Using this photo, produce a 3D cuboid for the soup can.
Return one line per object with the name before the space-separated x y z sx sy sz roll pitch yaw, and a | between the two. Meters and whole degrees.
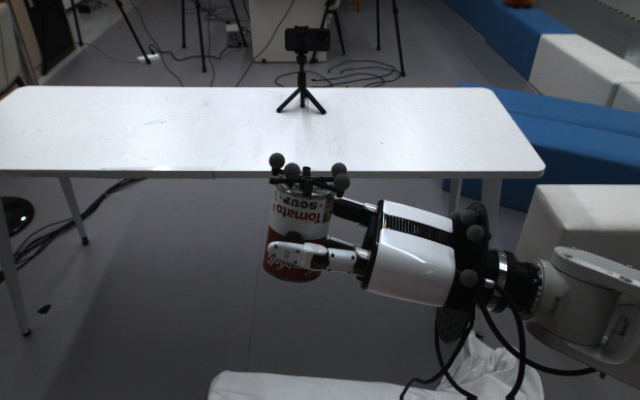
soup can | -0.021 0.029 0.537 0.067 0.101 0.067 9 20 -3
